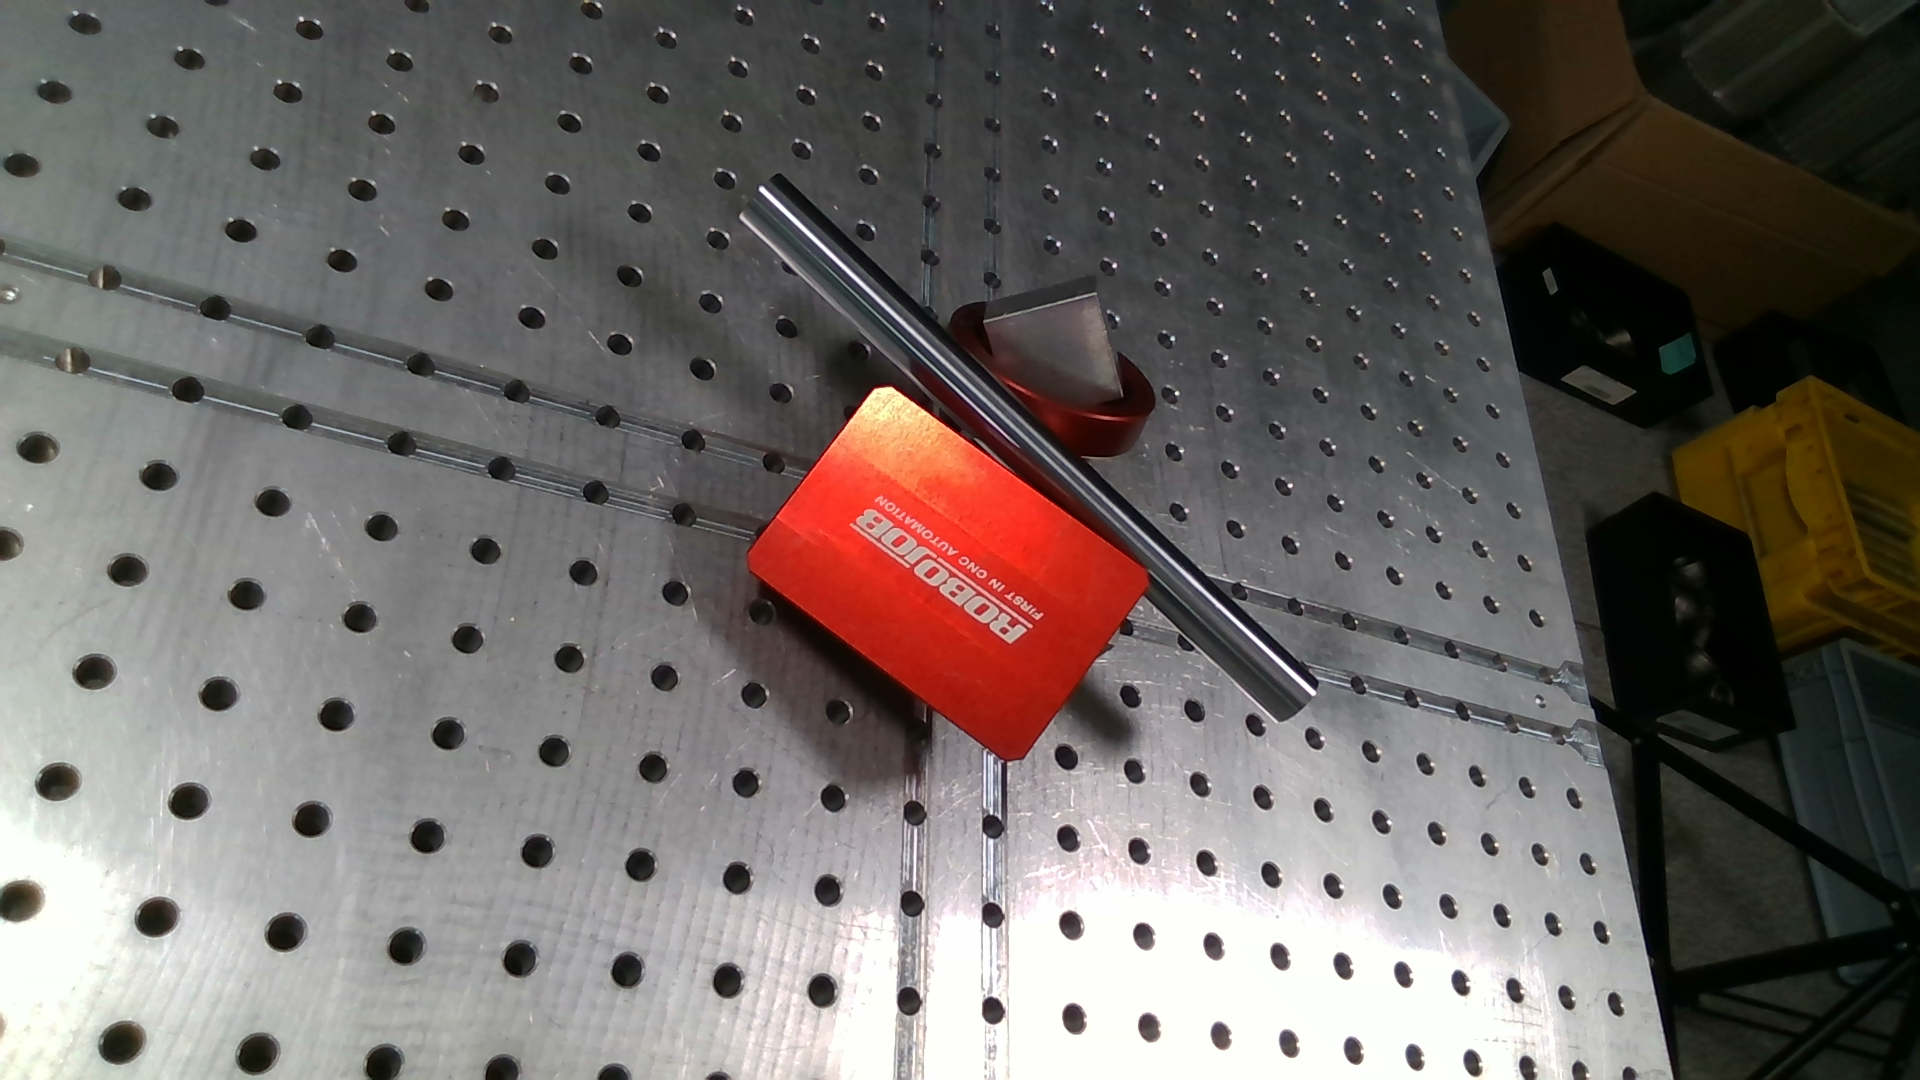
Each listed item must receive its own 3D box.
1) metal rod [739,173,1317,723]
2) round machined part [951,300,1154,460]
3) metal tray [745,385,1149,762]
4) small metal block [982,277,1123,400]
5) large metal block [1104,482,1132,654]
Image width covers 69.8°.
[{"bbox_3d":[0.030,-0.035,0.562,0.300,0.025,0.025,43,51,-5],"label":"metal rod"},{"bbox_3d":[0.034,-0.065,0.617,0.098,0.042,0.098,19,32,-13],"label":"round machined part"},{"bbox_3d":[-0.005,0.013,0.532,0.130,0.030,0.090,36,83,6],"label":"metal tray"},{"bbox_3d":[0.041,-0.085,0.608,0.025,0.050,0.050,-79,154,-60],"label":"small metal block"},{"bbox_3d":[0.023,0.006,0.583,0.080,0.050,0.080,22,55,-20],"label":"large metal block"}]
